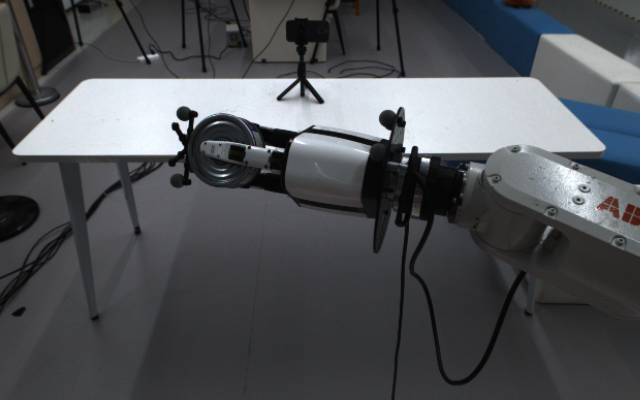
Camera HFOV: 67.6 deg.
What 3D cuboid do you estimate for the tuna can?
[{"bbox_3d":[-0.107,-0.058,0.564,0.085,0.085,0.034,10,2,11],"label":"tuna can"}]
